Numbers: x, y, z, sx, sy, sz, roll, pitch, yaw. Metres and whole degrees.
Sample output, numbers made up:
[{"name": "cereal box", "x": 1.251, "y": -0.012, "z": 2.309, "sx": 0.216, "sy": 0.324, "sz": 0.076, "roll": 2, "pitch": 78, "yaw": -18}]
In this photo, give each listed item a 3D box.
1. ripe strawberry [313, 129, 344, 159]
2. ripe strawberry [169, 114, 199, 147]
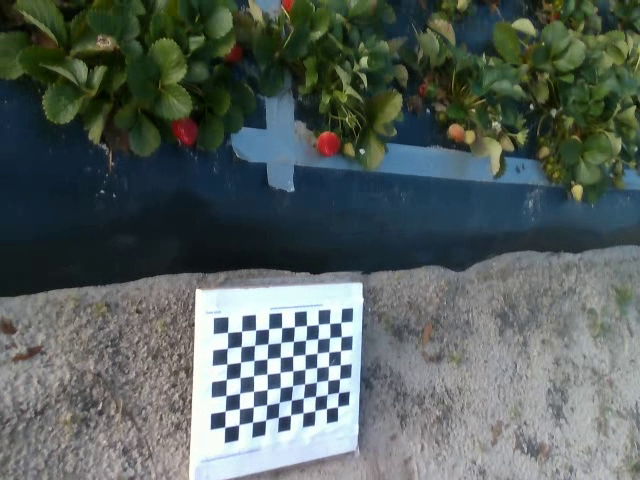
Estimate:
[{"name": "ripe strawberry", "x": 0.009, "y": -0.071, "z": 0.511, "sx": 0.023, "sy": 0.026, "sz": 0.021, "roll": 8, "pitch": -45, "yaw": -11}, {"name": "ripe strawberry", "x": -0.086, "y": -0.070, "z": 0.439, "sx": 0.018, "sy": 0.023, "sz": 0.021, "roll": -9, "pitch": -23, "yaw": -18}]
